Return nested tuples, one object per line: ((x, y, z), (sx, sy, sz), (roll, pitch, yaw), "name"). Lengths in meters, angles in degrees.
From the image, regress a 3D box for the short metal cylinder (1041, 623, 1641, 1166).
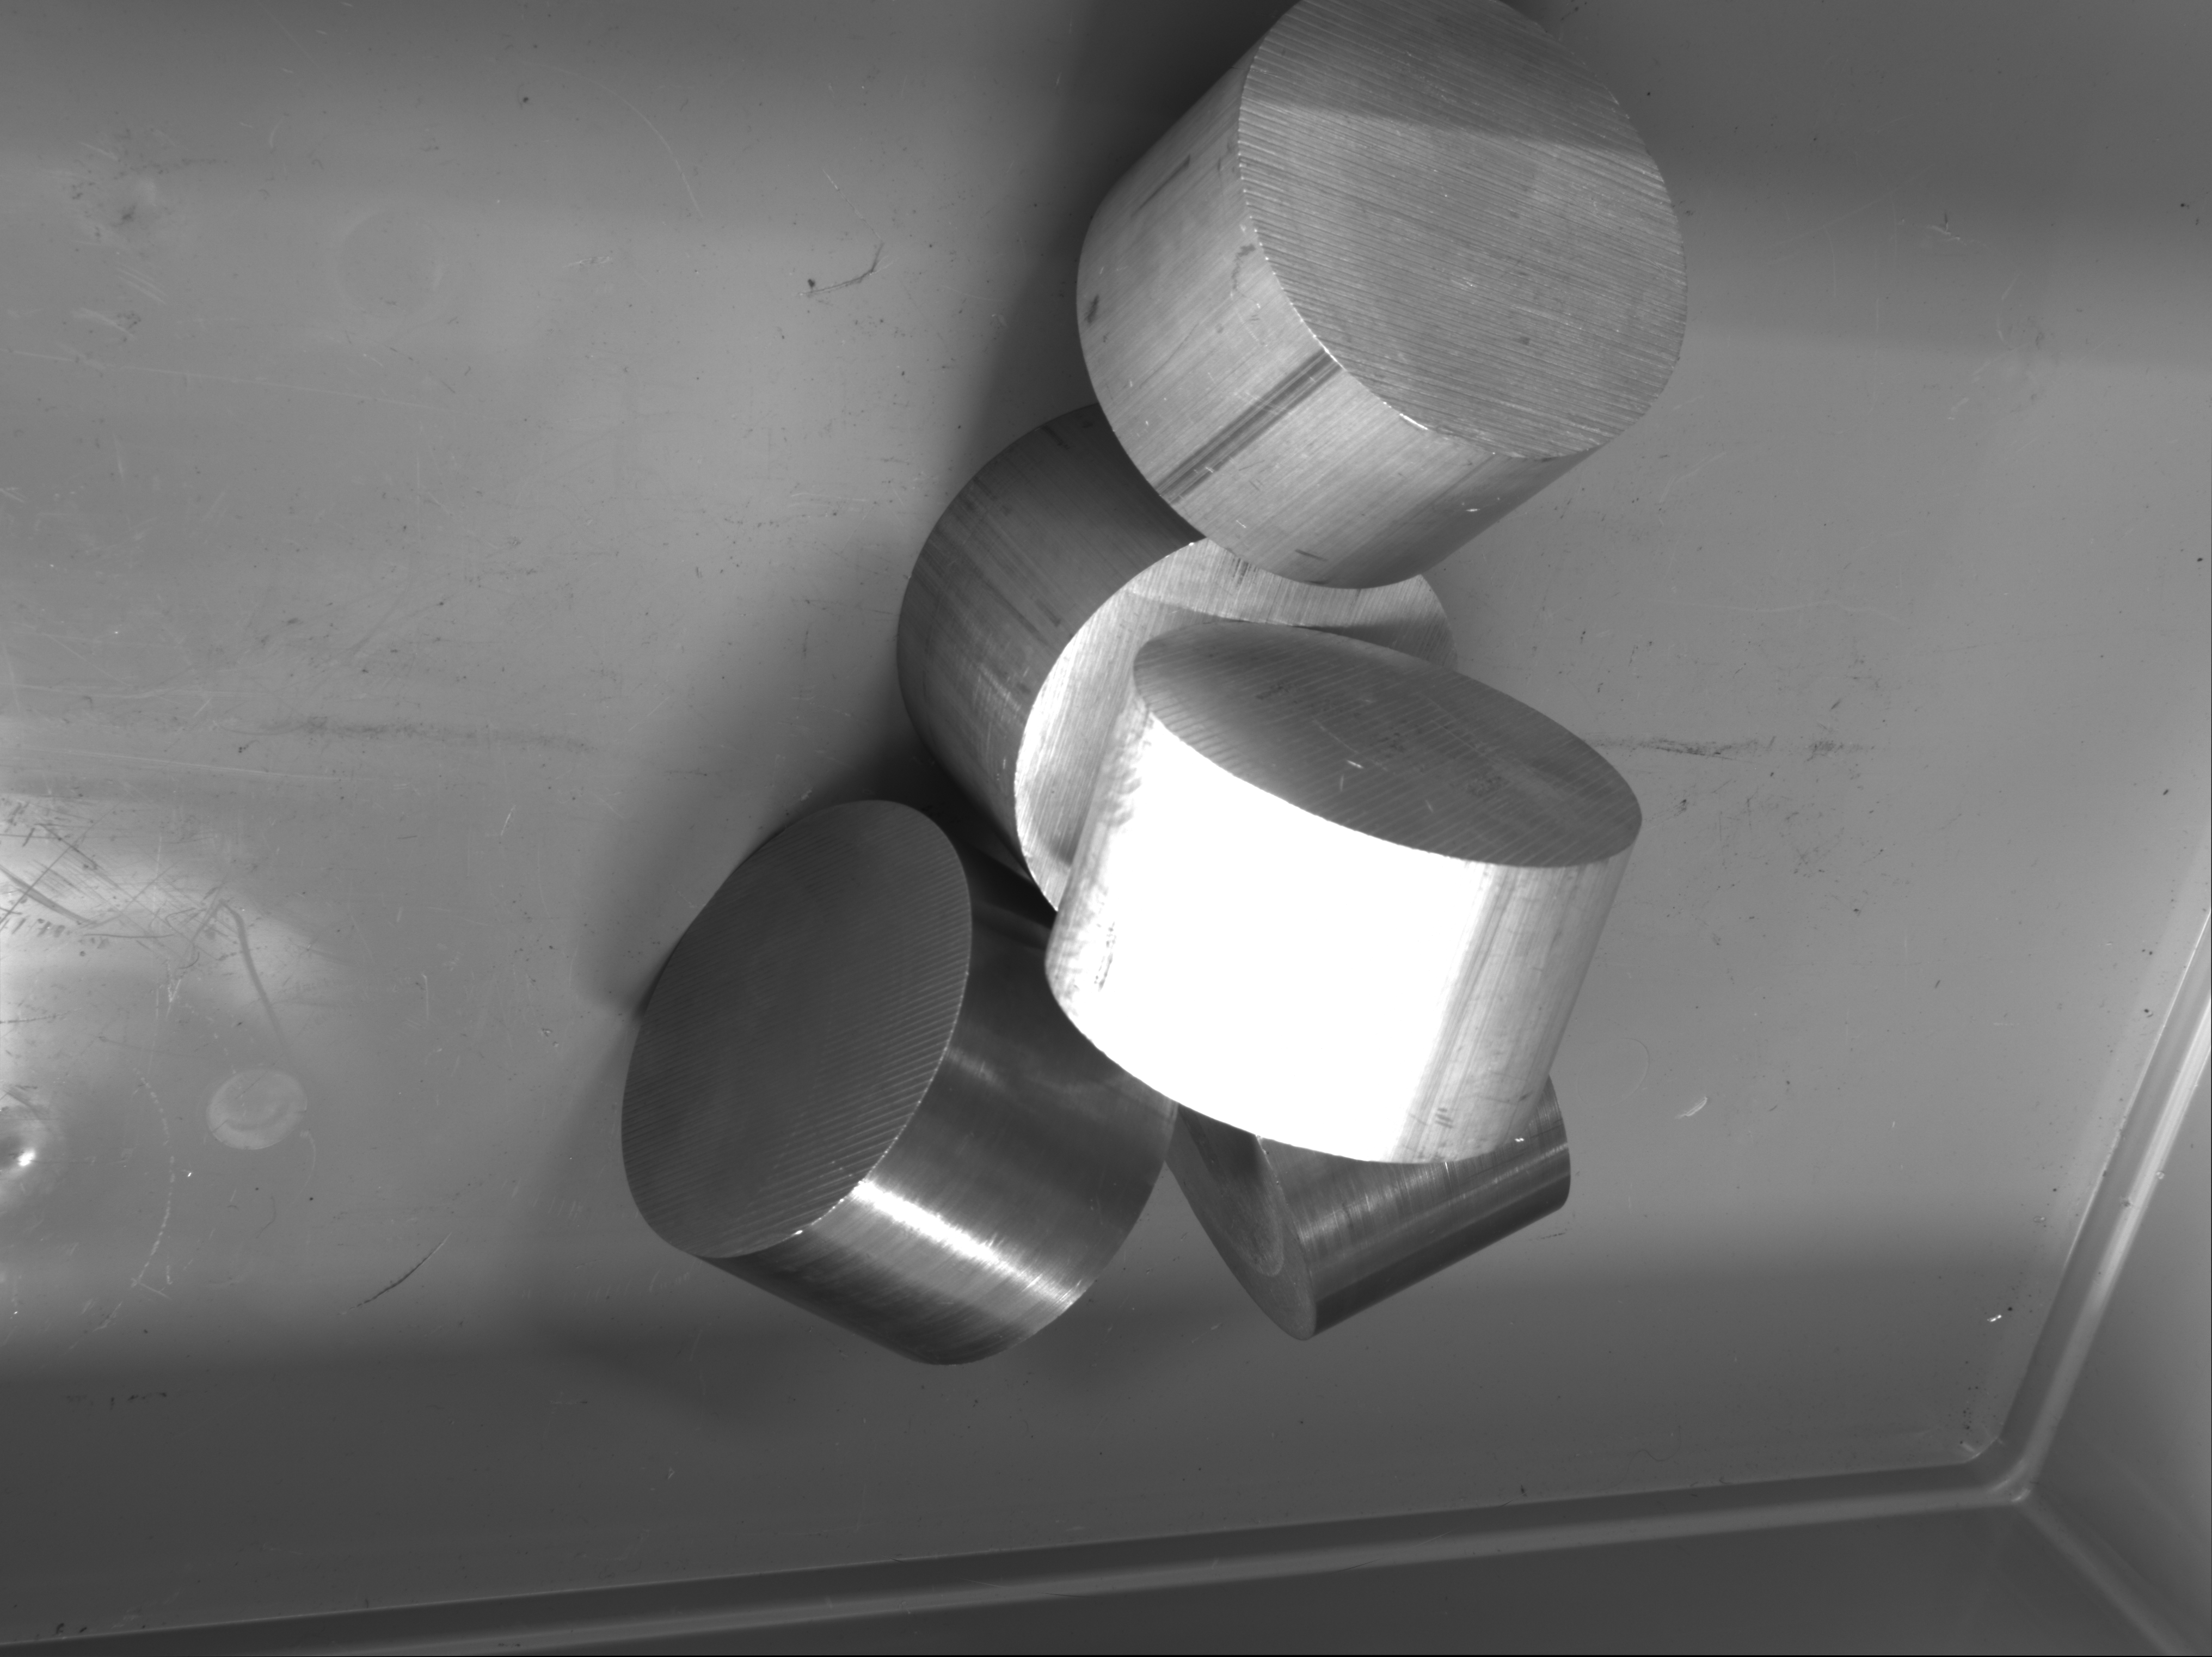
((0.035, 0.009, 0.560), (0.080, 0.080, 0.050), (3, 117, -30), "short metal cylinder")

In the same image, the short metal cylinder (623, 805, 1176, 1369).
((-0.034, 0.043, 0.608), (0.050, 0.080, 0.080), (33, 100, -38), "short metal cylinder")

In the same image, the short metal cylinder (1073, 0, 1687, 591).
((0.042, -0.083, 0.564), (0.080, 0.080, 0.050), (4, 159, -30), "short metal cylinder")

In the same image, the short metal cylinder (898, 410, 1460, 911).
((0.012, -0.024, 0.610), (0.080, 0.050, 0.080), (-14, 124, -21), "short metal cylinder")

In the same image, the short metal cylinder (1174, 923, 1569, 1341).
((0.039, 0.043, 0.648), (0.050, 0.080, 0.080), (-25, 127, -12), "short metal cylinder")
